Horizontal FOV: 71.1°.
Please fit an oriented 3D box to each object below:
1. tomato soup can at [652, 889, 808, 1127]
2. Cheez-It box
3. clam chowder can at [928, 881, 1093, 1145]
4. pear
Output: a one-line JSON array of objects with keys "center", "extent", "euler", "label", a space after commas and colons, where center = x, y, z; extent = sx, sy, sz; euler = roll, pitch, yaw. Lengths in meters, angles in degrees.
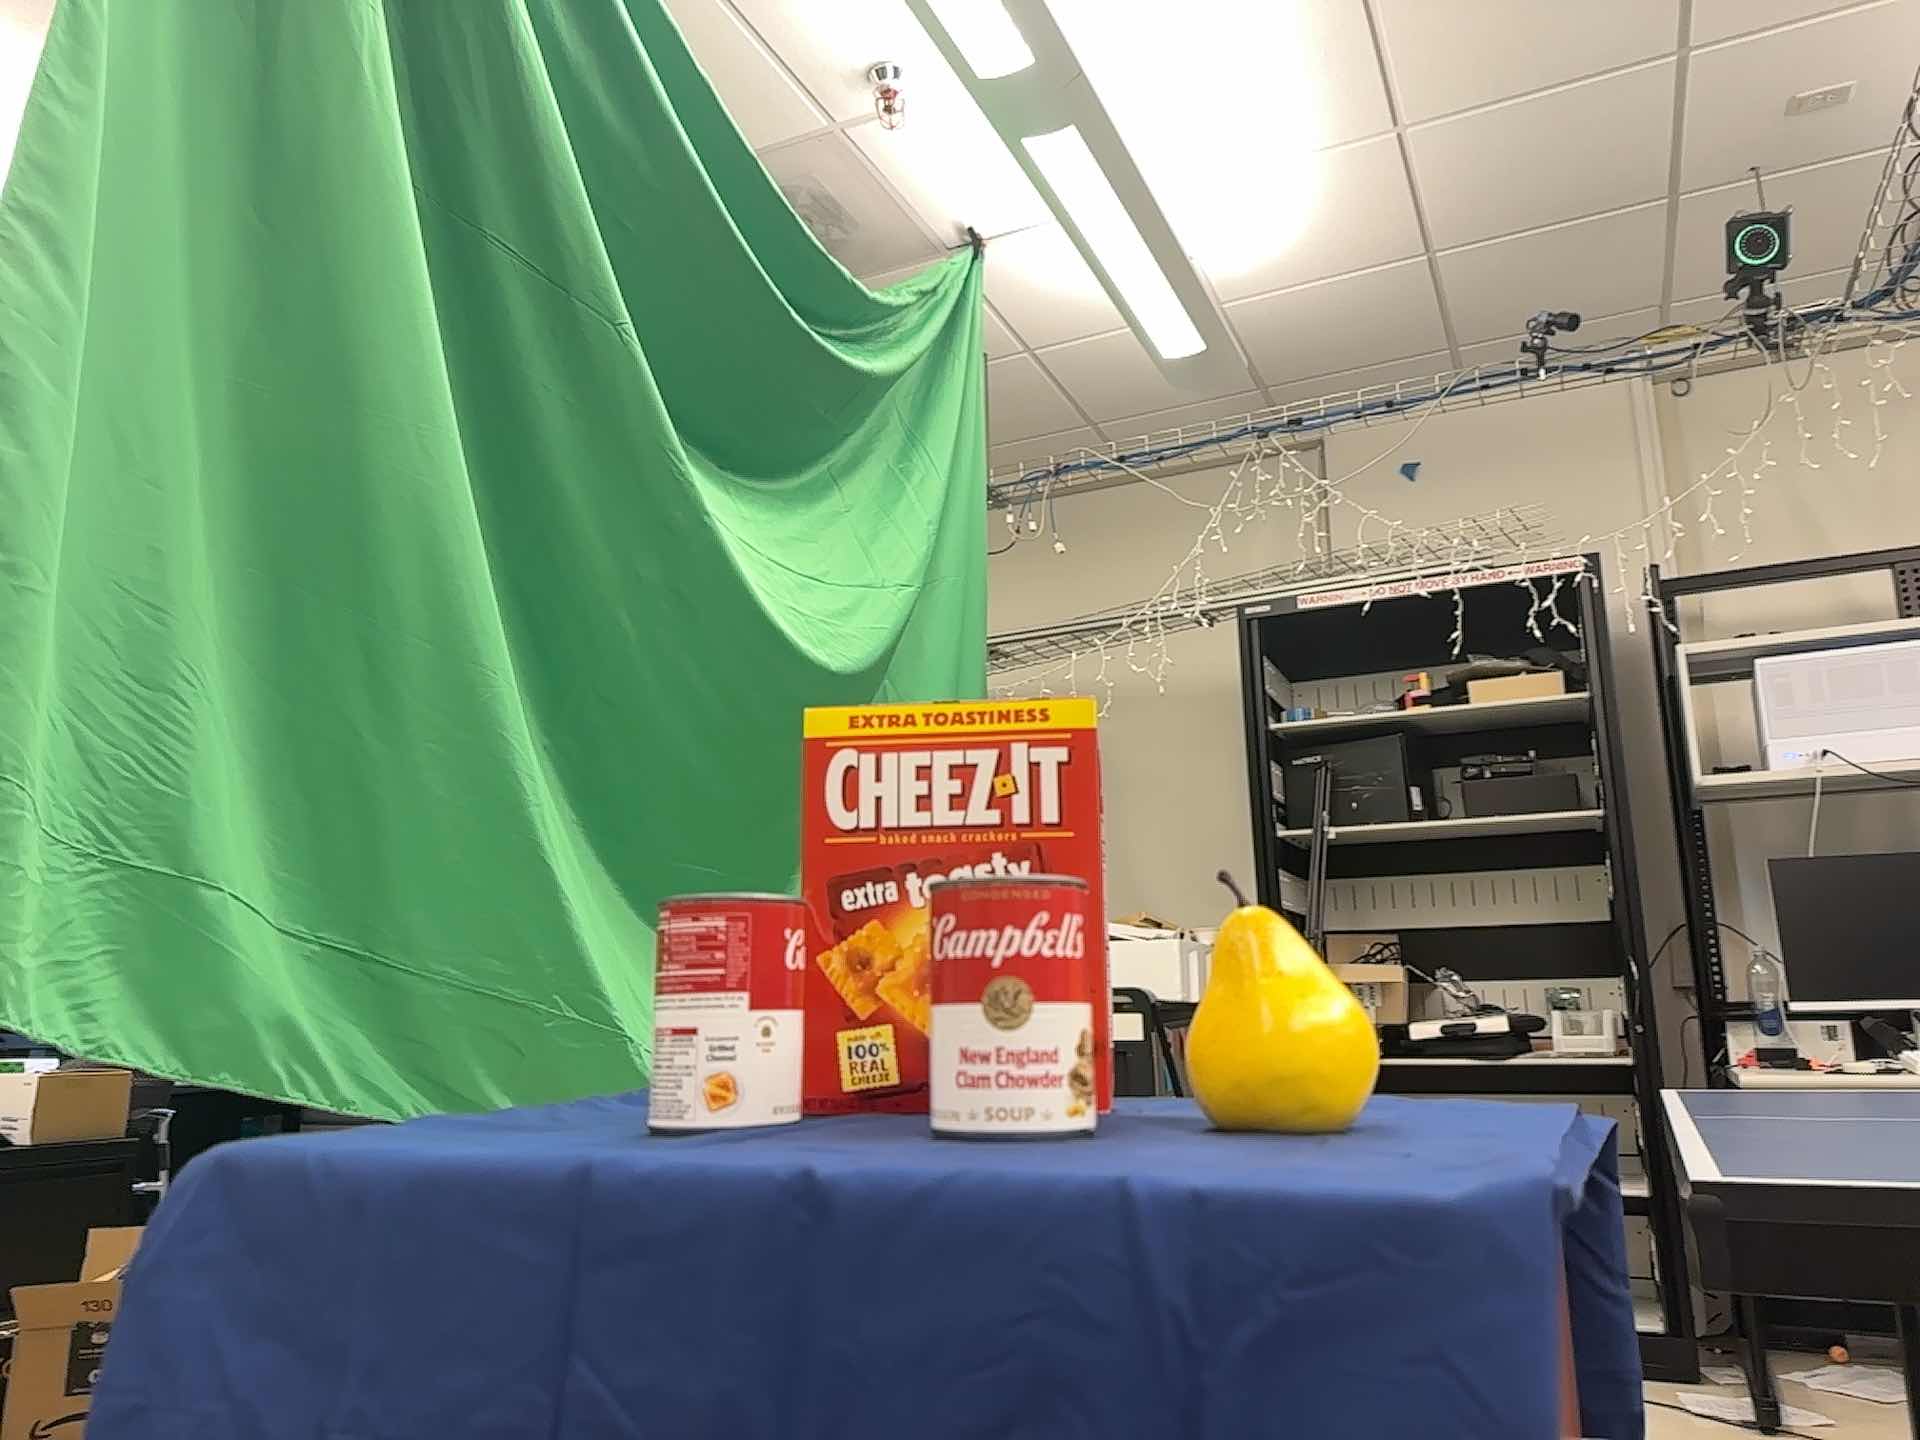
[{"center": [-0.104, 0.131, 0.611], "extent": [0.067, 0.102, 0.067], "euler": [0, -14, 0], "label": "tomato soup can"}, {"center": [-0.001, 0.104, 0.739], "extent": [0.159, 0.214, 0.062], "euler": [-2, -11, 7], "label": "Cheez-It box"}, {"center": [0.020, 0.121, 0.560], "extent": [0.068, 0.102, 0.068], "euler": [0, -12, 0], "label": "clam chowder can"}, {"center": [0.133, 0.120, 0.567], "extent": [0.080, 0.111, 0.080], "euler": [1, -11, 0], "label": "pear"}]
